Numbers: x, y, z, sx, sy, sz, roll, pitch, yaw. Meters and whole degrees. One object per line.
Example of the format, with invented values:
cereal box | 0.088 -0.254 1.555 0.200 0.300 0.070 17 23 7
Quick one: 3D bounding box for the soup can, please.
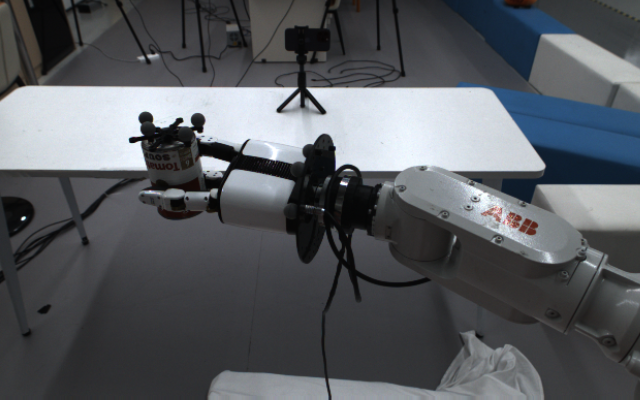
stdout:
soup can | -0.184 -0.034 0.624 0.067 0.101 0.067 -2 33 1
